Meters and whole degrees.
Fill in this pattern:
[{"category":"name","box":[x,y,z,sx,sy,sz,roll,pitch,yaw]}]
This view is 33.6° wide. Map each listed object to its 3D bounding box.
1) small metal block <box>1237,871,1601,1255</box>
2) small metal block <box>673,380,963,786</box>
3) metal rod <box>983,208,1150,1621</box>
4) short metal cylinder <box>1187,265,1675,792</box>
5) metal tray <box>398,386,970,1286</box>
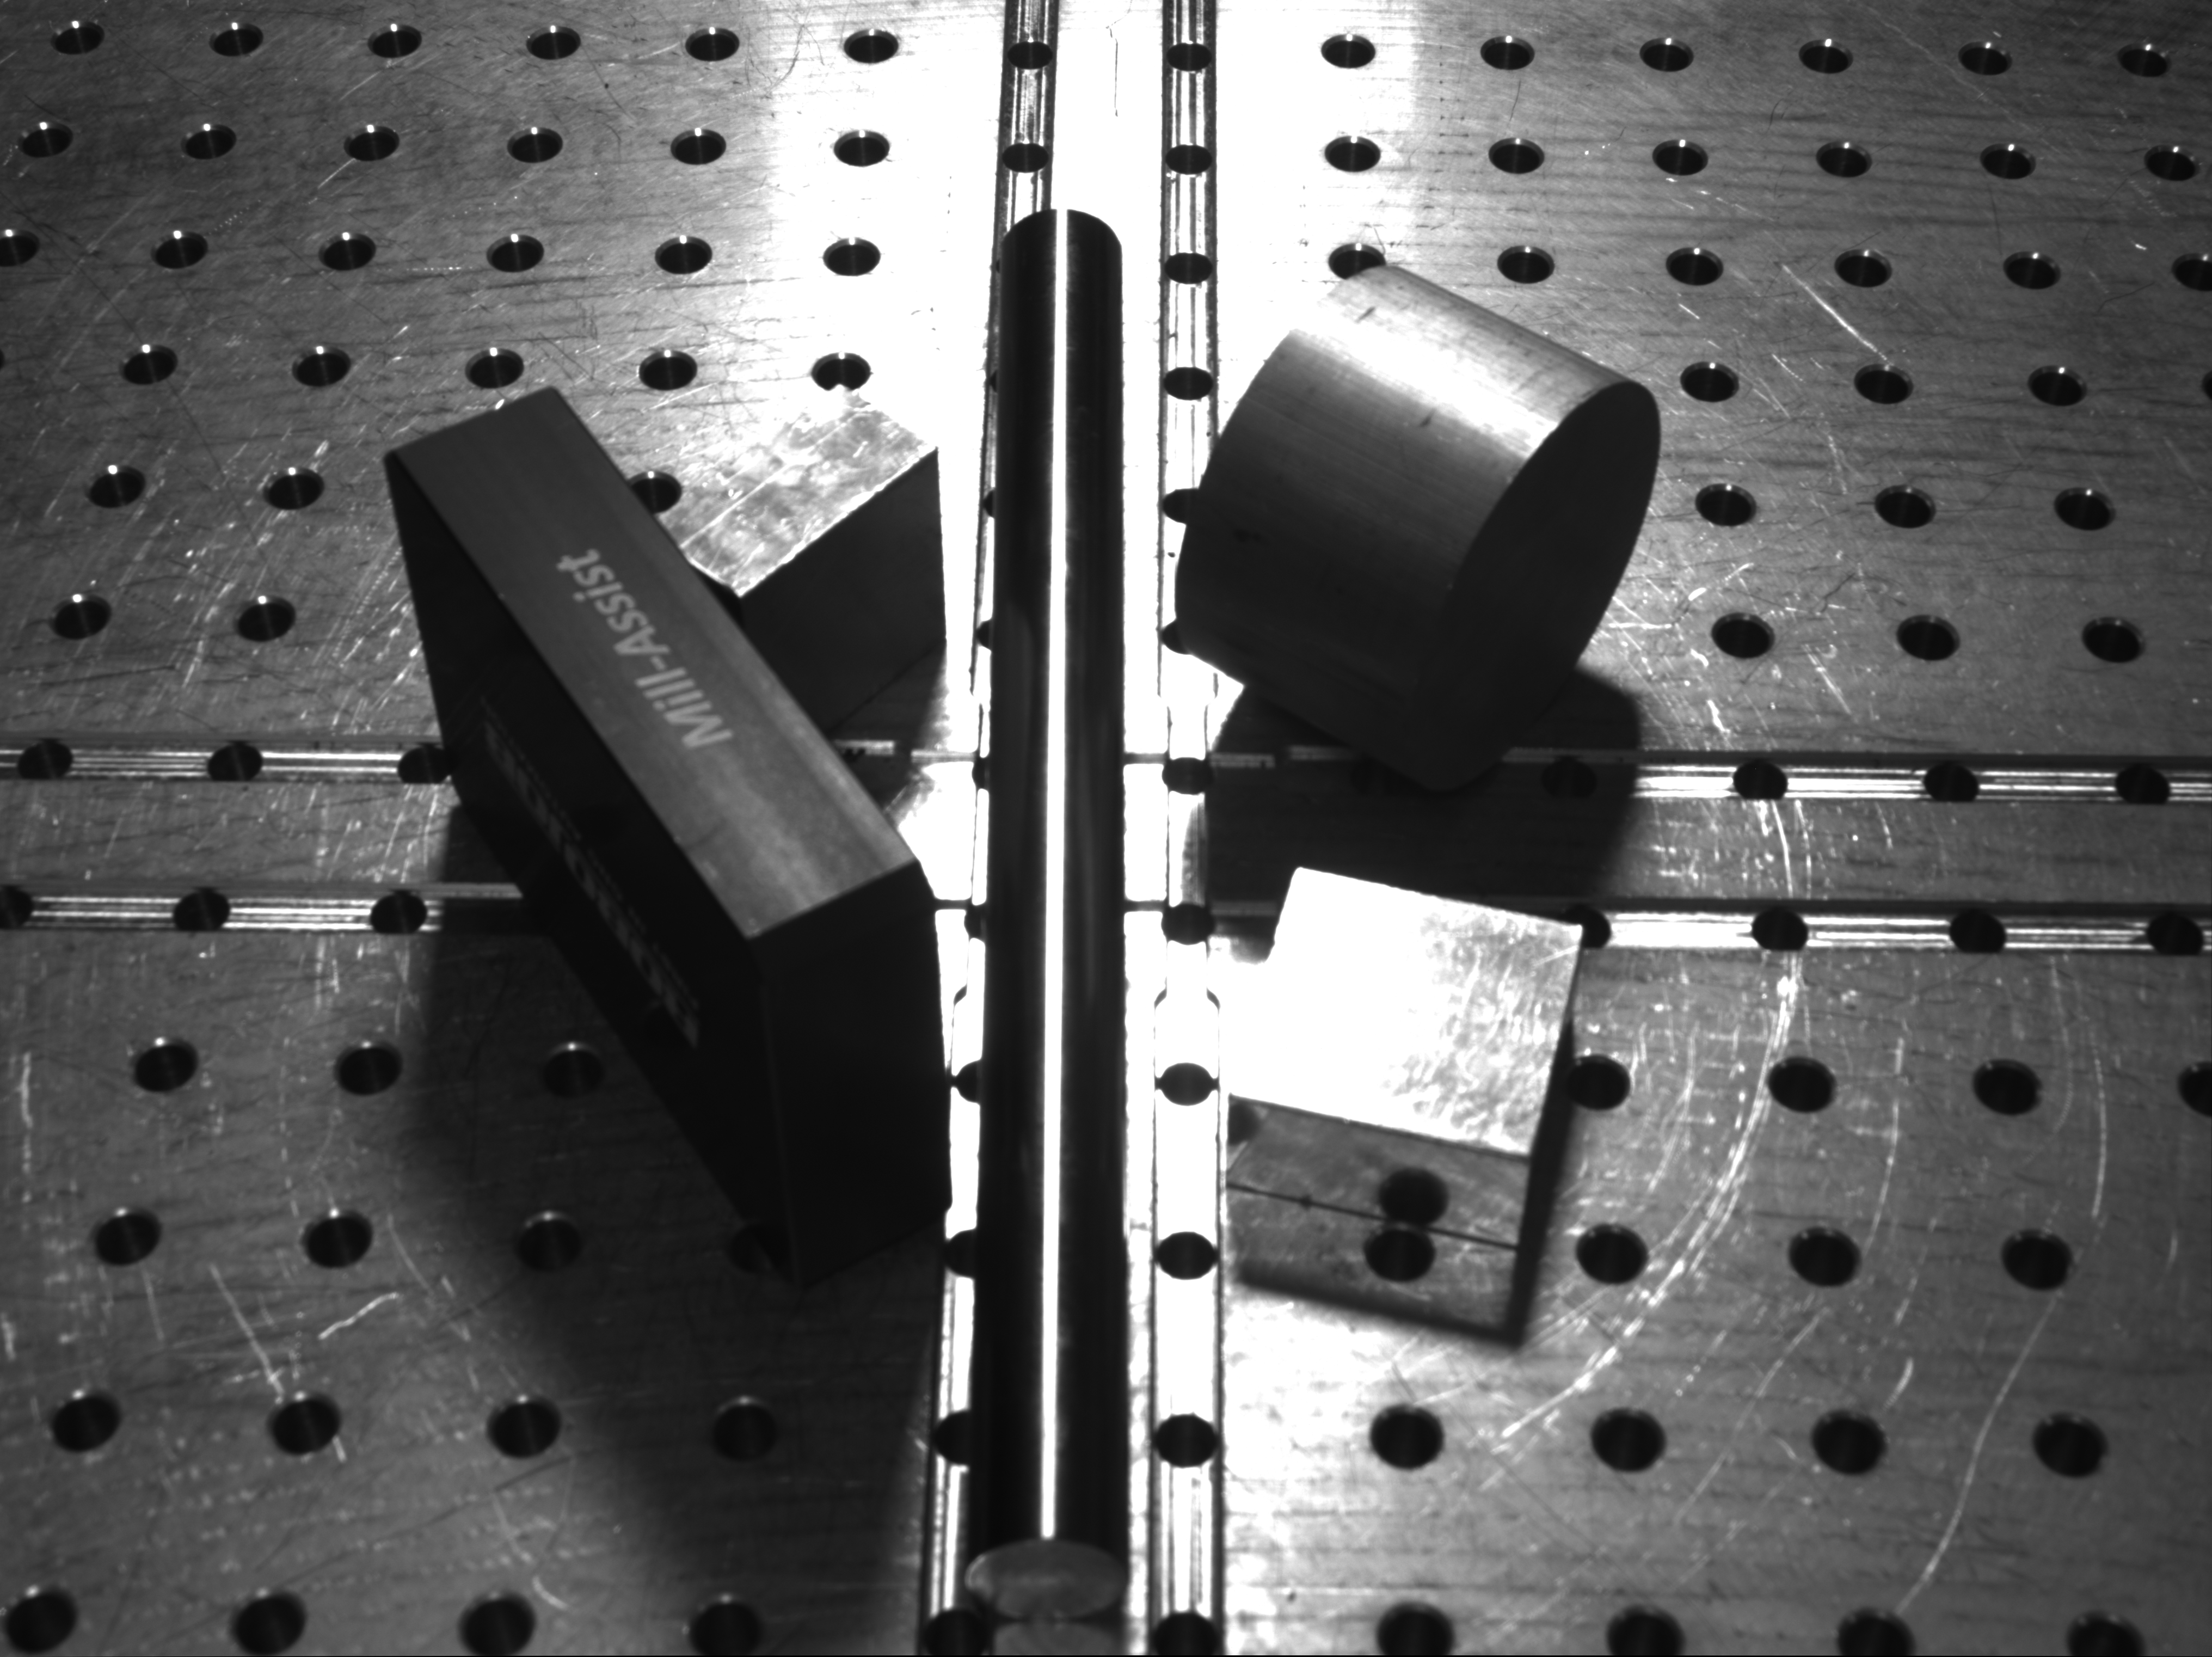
[{"category":"small metal block","box":[0.053,0.039,0.613,0.050,0.025,0.050,12,51,10]},{"category":"small metal block","box":[-0.053,-0.045,0.665,0.025,0.050,0.050,34,58,25]},{"category":"metal rod","box":[-0.006,-0.002,0.646,0.025,0.025,0.300,0,50,0]},{"category":"short metal cylinder","box":[0.059,-0.053,0.654,0.050,0.080,0.080,30,56,23]},{"category":"metal tray","box":[-0.069,0.001,0.601,0.030,0.090,0.130,-26,54,-20]}]
